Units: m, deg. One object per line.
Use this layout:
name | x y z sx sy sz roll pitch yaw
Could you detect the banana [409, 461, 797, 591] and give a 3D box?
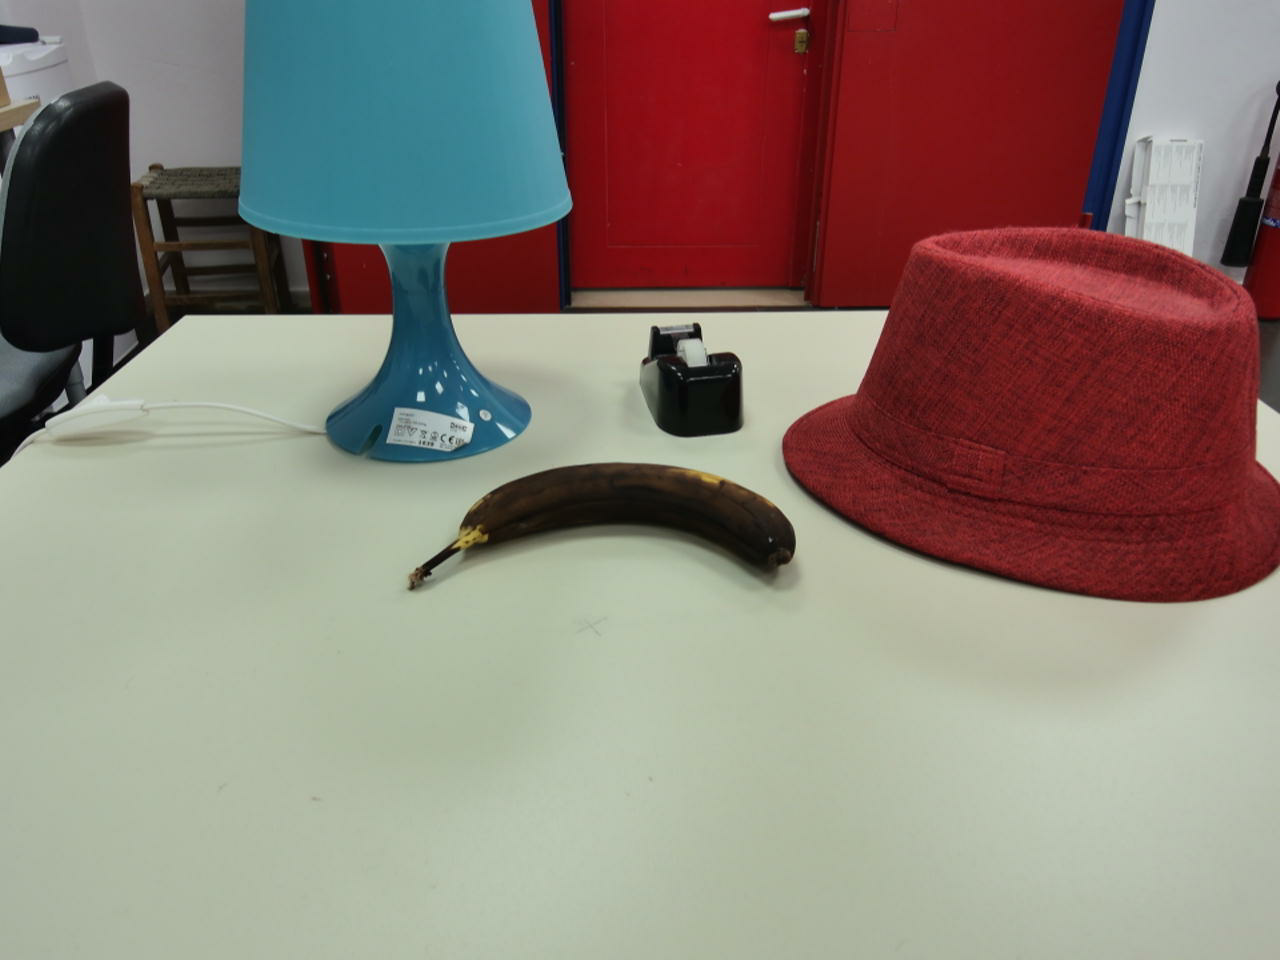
banana | -0.017 0.018 0.514 0.188 0.034 0.091 0 26 1
